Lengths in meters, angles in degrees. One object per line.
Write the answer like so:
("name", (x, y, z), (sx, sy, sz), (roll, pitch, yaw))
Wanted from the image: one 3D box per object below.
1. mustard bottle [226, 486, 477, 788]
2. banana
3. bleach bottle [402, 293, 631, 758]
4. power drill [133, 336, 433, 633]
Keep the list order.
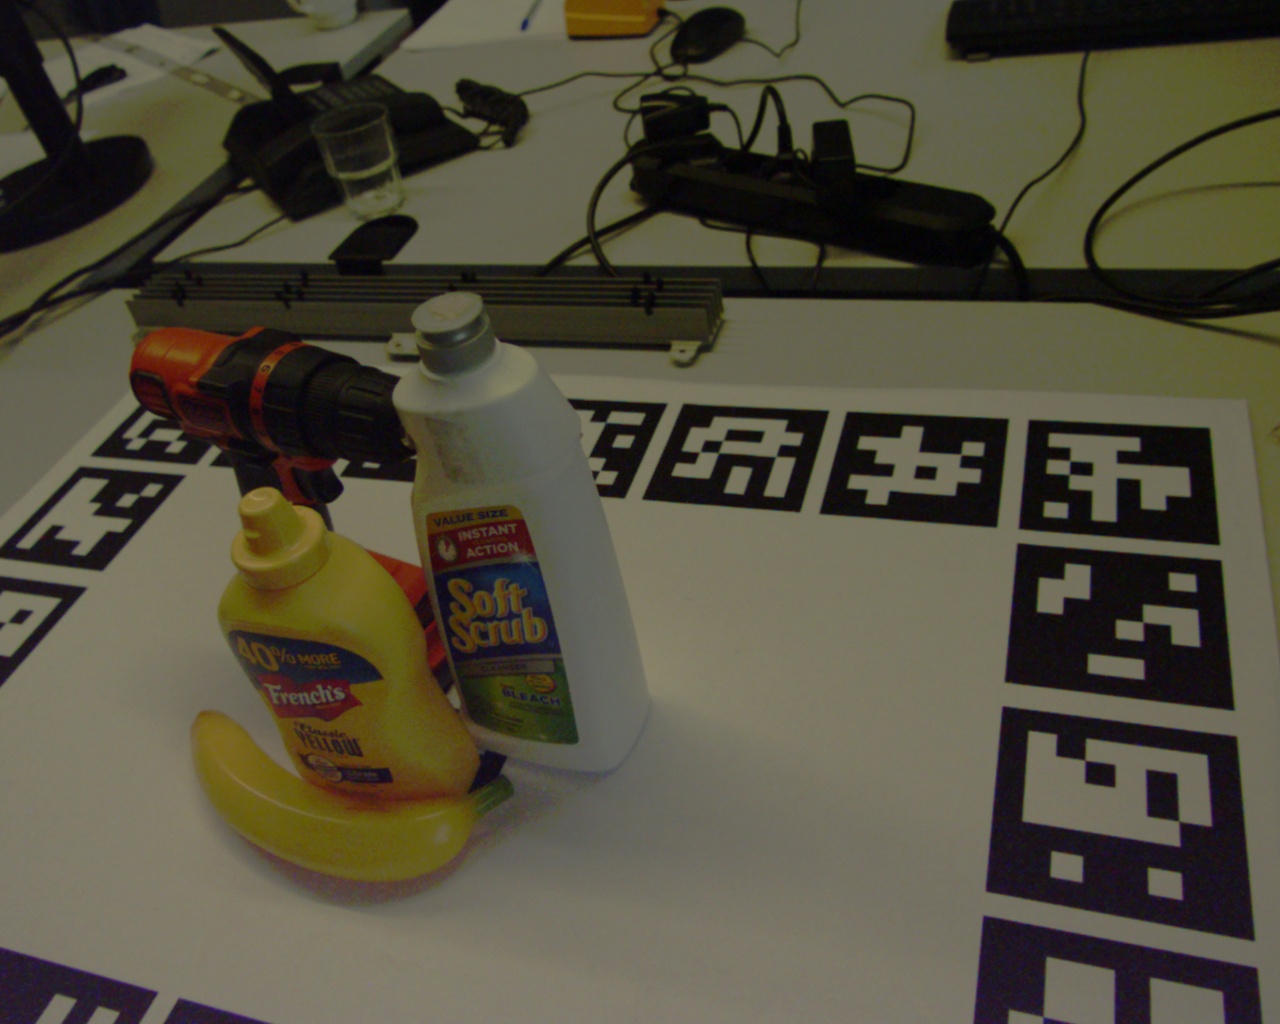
("mustard bottle", (-0.149, 0.063, 0.560), (0.097, 0.190, 0.058), (6, 45, 19))
("banana", (-0.162, 0.143, 0.604), (0.199, 0.038, 0.074), (7, 47, 25))
("bleach bottle", (-0.069, 0.012, 0.558), (0.104, 0.249, 0.067), (7, 40, 22))
("power drill", (-0.169, -0.004, 0.608), (0.187, 0.186, 0.057), (16, 48, 27))
